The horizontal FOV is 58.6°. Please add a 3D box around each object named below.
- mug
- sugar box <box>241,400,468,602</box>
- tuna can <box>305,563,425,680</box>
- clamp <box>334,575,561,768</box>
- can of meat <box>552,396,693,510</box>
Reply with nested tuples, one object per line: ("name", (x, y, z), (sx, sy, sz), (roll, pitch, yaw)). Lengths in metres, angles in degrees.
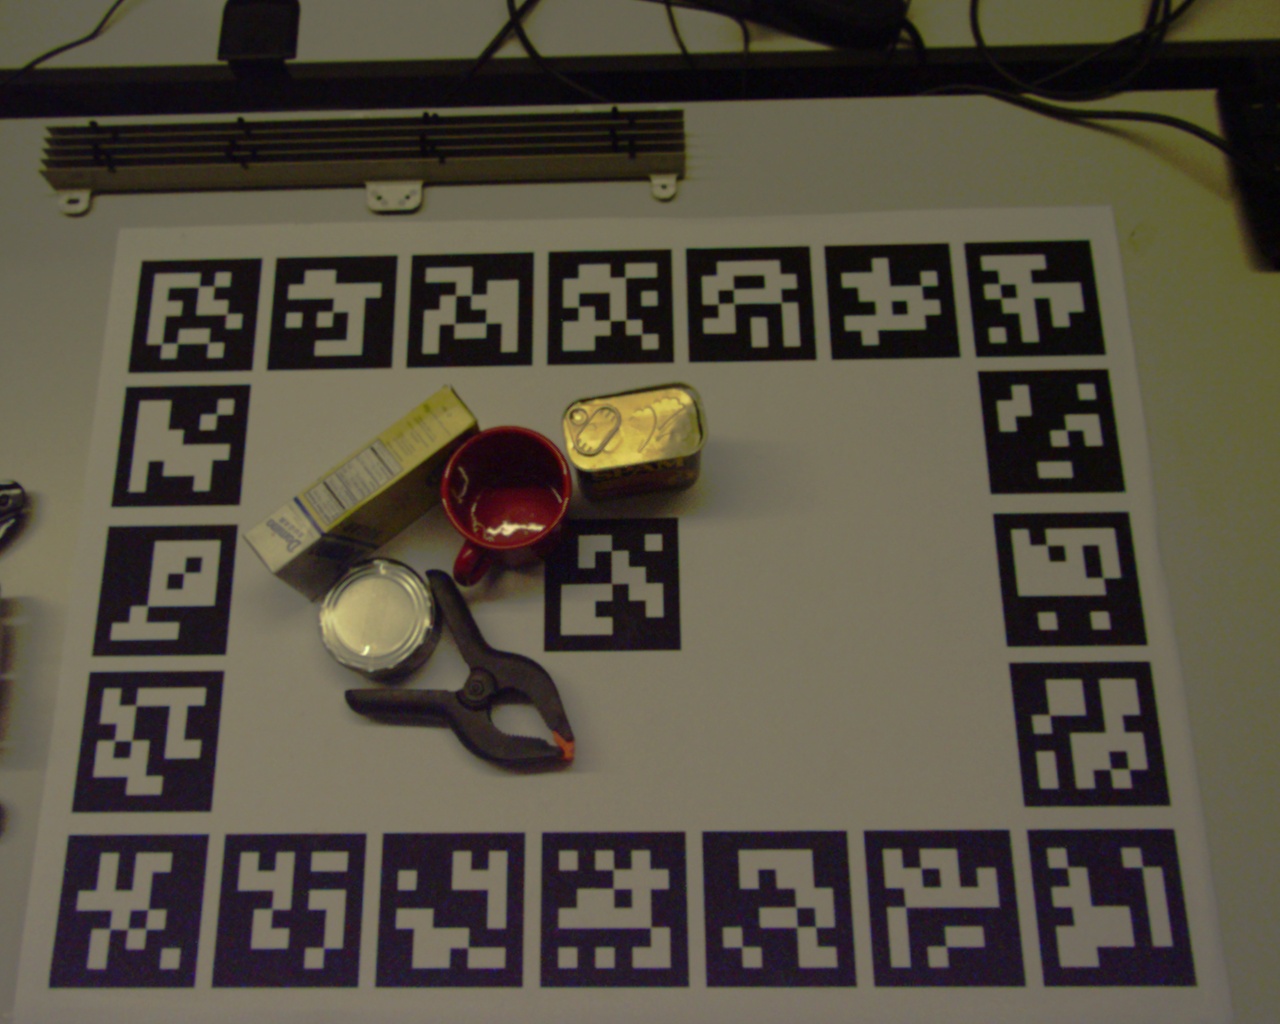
("mug", (-0.113, 0.006, 0.857), (0.093, 0.081, 0.117), (24, 78, 6))
("sugar box", (-0.206, -0.006, 0.867), (0.176, 0.092, 0.045), (-38, 76, -10))
("tuna can", (-0.208, 0.084, 0.866), (0.086, 0.033, 0.086), (-1, 76, 1))
("clamp", (-0.130, 0.138, 0.854), (0.165, 0.036, 0.121), (34, 74, 6))
("can of meat", (-0.014, -0.042, 0.876), (0.102, 0.083, 0.058), (-9, 74, -3))
